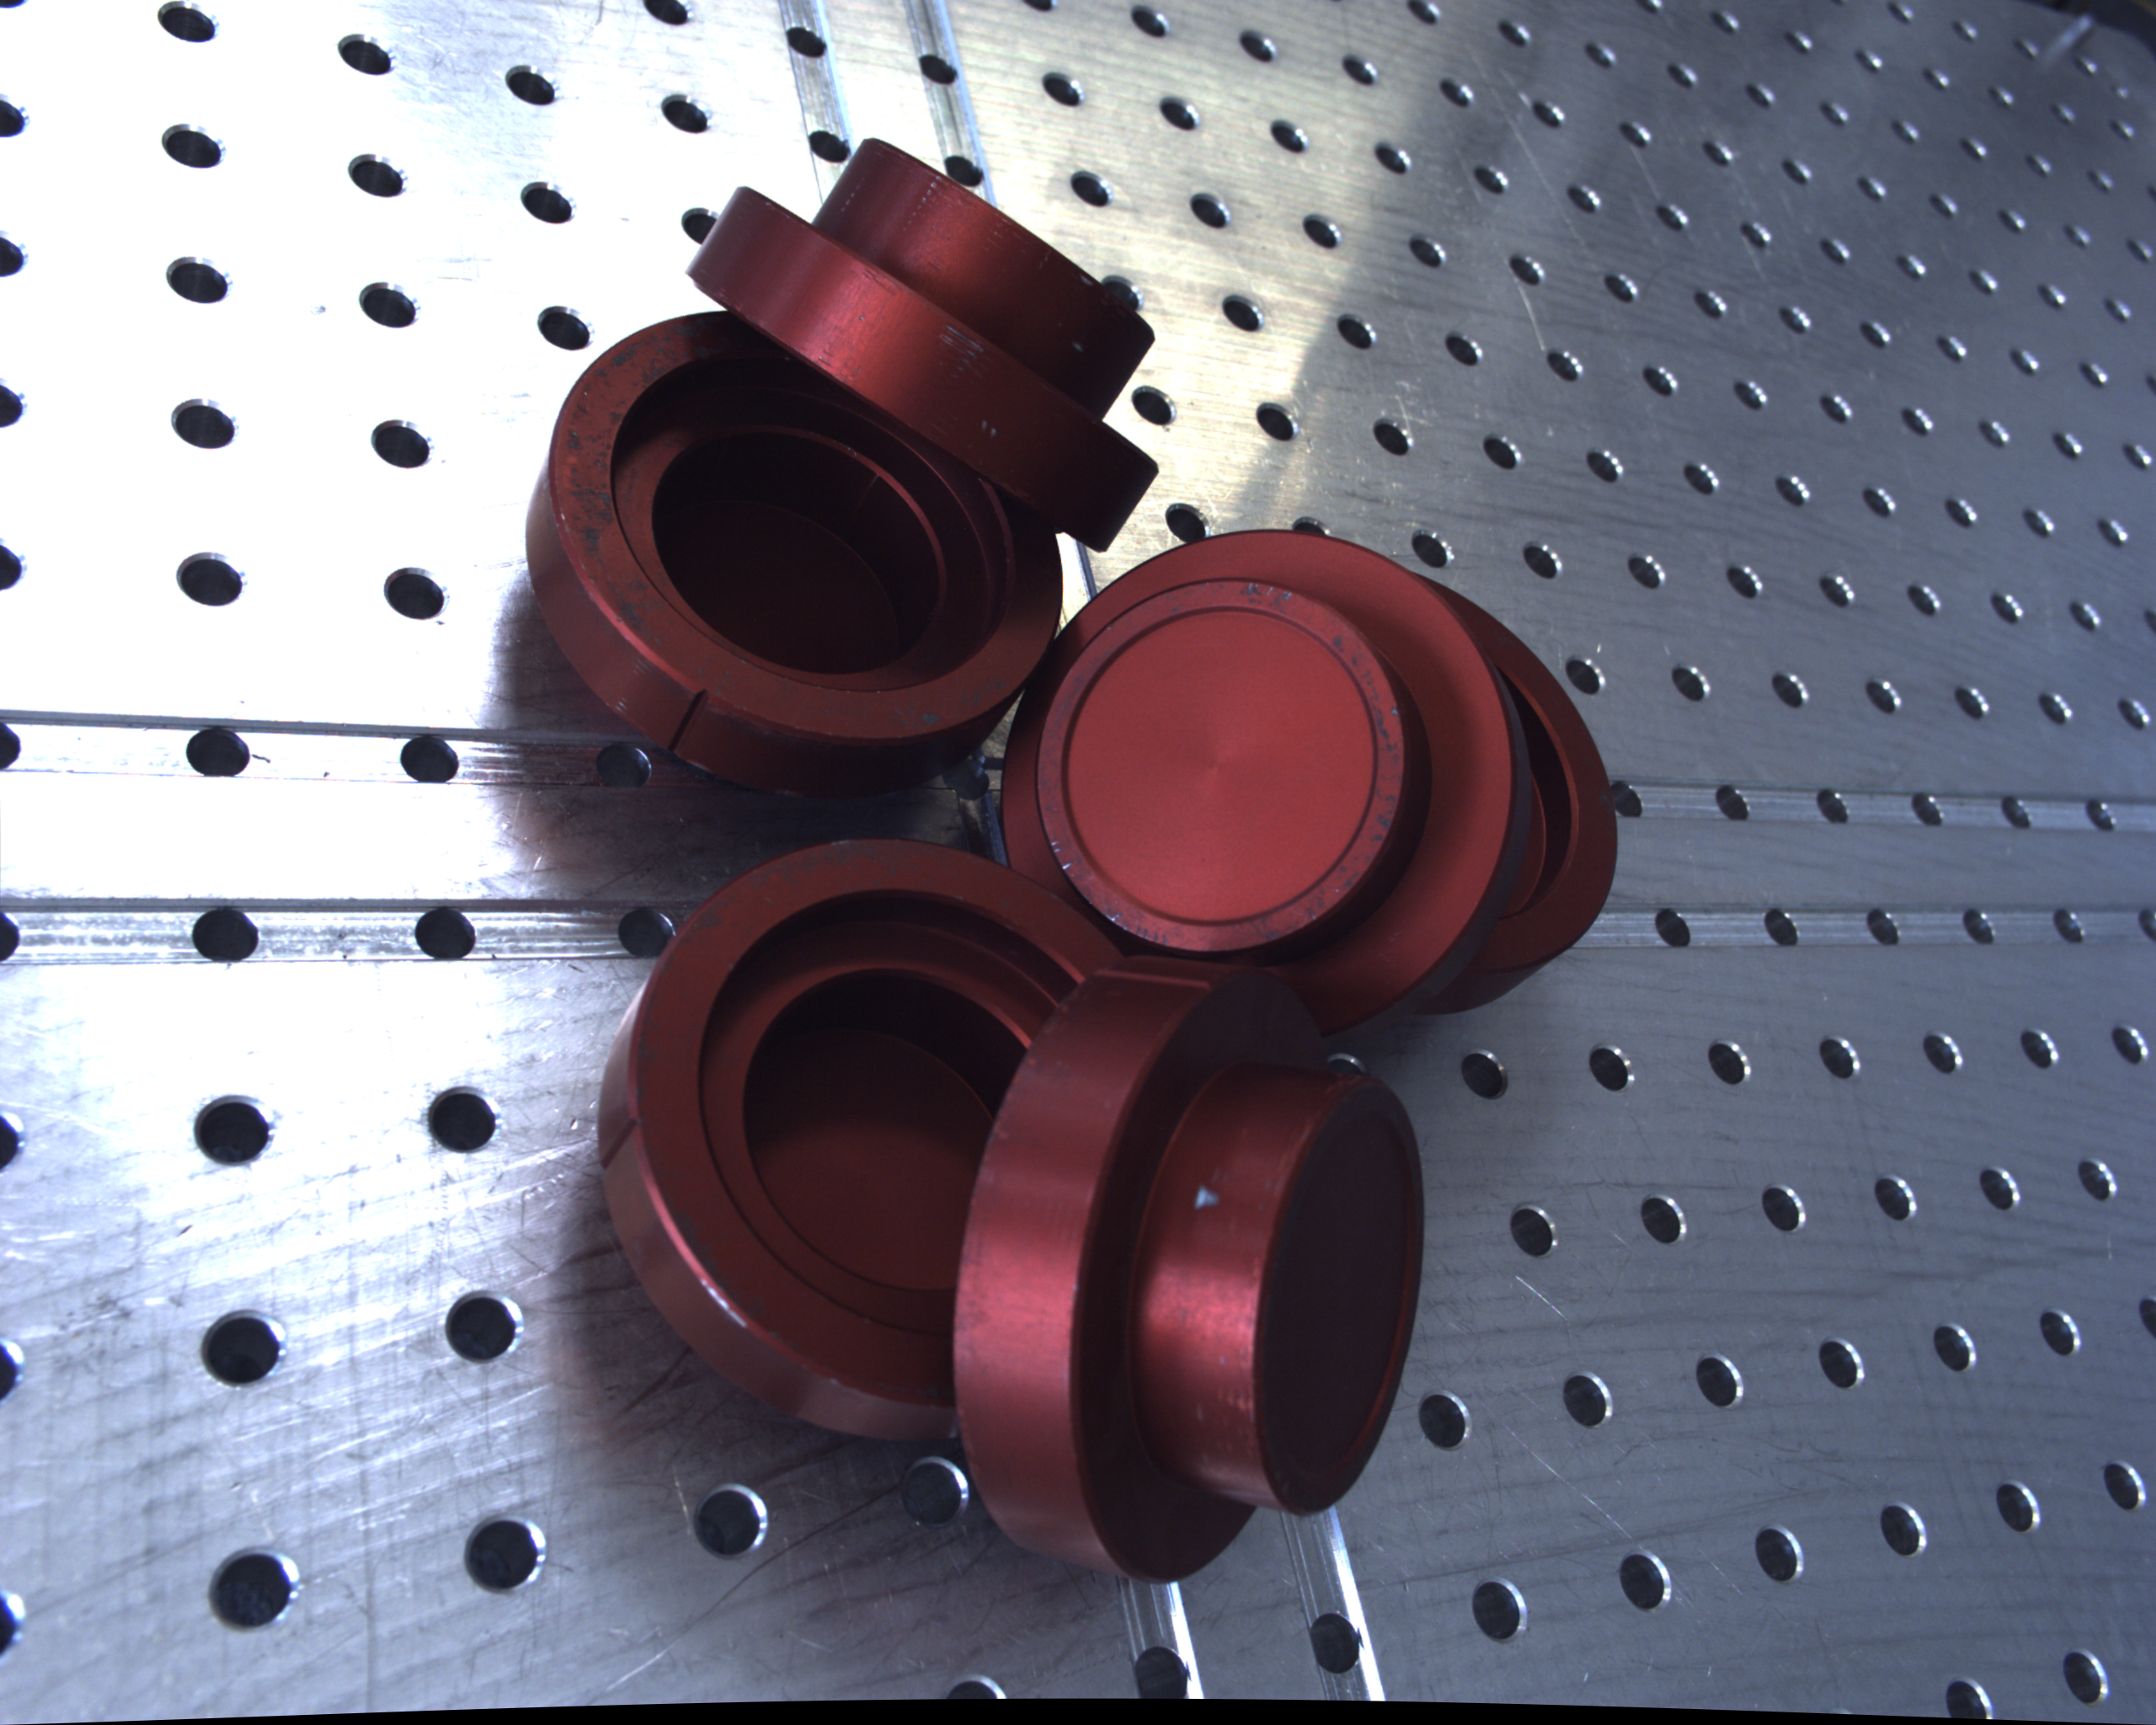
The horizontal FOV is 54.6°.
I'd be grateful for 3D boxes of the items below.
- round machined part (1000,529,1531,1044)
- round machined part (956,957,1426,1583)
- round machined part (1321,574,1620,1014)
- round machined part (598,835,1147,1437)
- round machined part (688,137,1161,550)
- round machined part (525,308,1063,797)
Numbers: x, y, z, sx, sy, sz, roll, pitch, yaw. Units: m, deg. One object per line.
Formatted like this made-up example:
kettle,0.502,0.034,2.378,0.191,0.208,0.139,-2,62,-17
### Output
round machined part,0.031,-0.015,0.384,0.098,0.098,0.042,63,12,17
round machined part,0.024,0.065,0.333,0.099,0.042,0.097,-15,107,-60
round machined part,0.060,-0.012,0.436,0.099,0.042,0.098,13,56,-21
round machined part,-0.031,0.048,0.350,0.099,0.042,0.098,13,56,-21
round machined part,-0.024,-0.106,0.413,0.098,0.042,0.098,33,7,-4
round machined part,-0.056,-0.054,0.399,0.099,0.042,0.098,13,56,-21
